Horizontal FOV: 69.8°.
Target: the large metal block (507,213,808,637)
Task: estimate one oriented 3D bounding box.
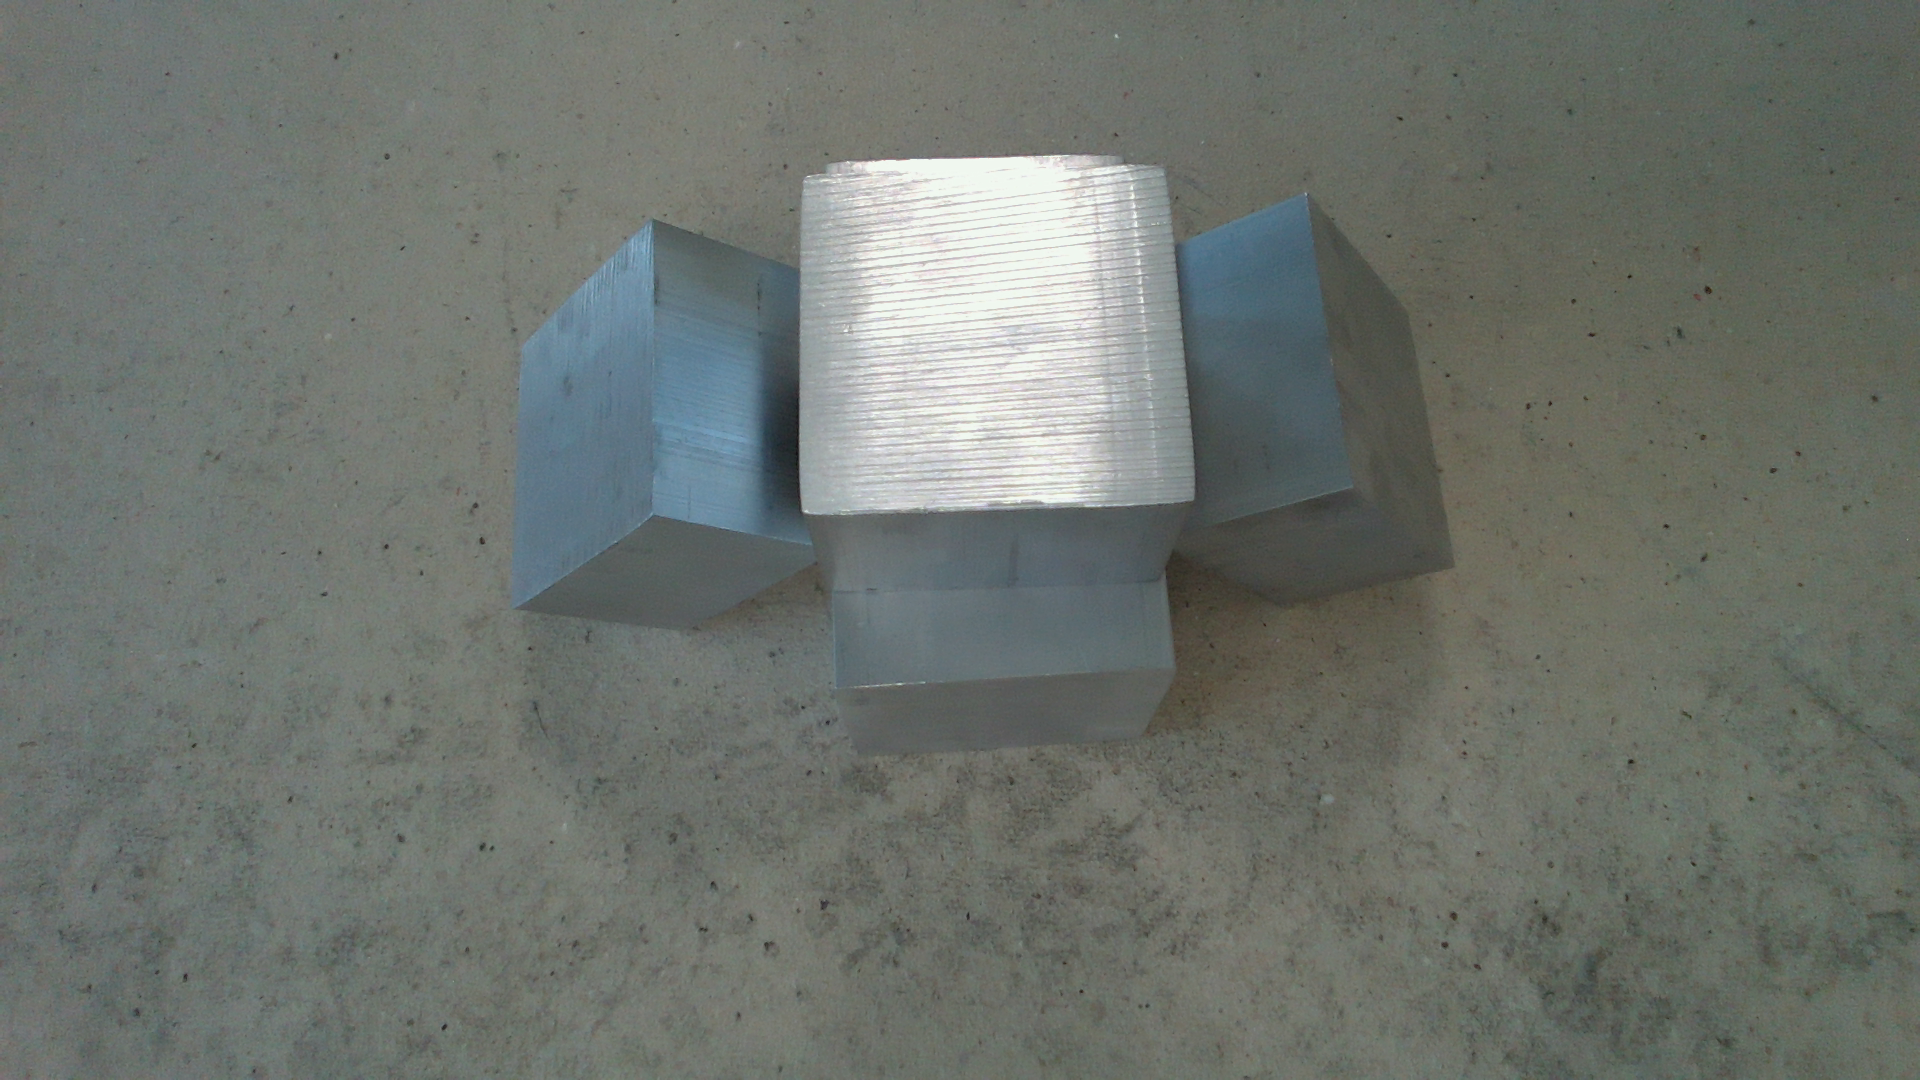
[{"bbox_3d":[-0.079,-0.026,0.368,0.050,0.080,0.080,13,64,-38],"label":"large metal block"}]

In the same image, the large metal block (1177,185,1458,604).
[{"bbox_3d":[0.090,-0.034,0.370,0.050,0.080,0.080,-16,66,31],"label":"large metal block"}]

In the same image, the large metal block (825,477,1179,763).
[{"bbox_3d":[0.009,0.024,0.359,0.080,0.080,0.050,-4,70,-1],"label":"large metal block"}]

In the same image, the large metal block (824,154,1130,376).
[{"bbox_3d":[0.005,-0.063,0.389,0.080,0.080,0.050,-2,70,-1],"label":"large metal block"}]

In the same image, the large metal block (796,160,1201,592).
[{"bbox_3d":[0.006,-0.035,0.309,0.080,0.050,0.080,-2,70,-1],"label":"large metal block"}]
